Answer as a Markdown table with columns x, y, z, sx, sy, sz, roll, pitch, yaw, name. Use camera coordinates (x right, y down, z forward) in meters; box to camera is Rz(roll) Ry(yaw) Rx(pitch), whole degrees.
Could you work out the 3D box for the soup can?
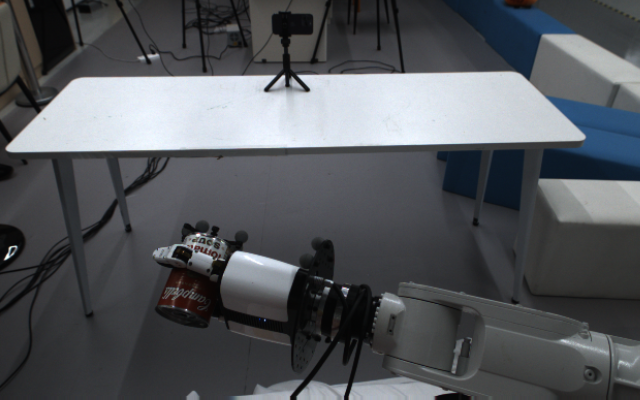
| x | y | z | sx | sy | sz | roll | pitch | yaw | name |
| --- | --- | --- | --- | --- | --- | --- | --- | --- | --- |
| -0.154 | 0.100 | 0.604 | 0.067 | 0.067 | 0.101 | 9 | 58 | 10 | soup can |
